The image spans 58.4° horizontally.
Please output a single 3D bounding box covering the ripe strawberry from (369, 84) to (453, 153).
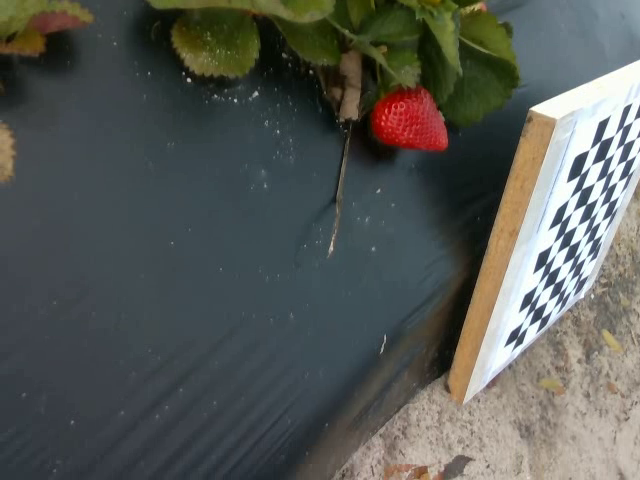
[{"bbox_3d":[0.046,-0.057,0.275,0.046,0.037,0.037,39,3,-5],"label":"ripe strawberry"}]
